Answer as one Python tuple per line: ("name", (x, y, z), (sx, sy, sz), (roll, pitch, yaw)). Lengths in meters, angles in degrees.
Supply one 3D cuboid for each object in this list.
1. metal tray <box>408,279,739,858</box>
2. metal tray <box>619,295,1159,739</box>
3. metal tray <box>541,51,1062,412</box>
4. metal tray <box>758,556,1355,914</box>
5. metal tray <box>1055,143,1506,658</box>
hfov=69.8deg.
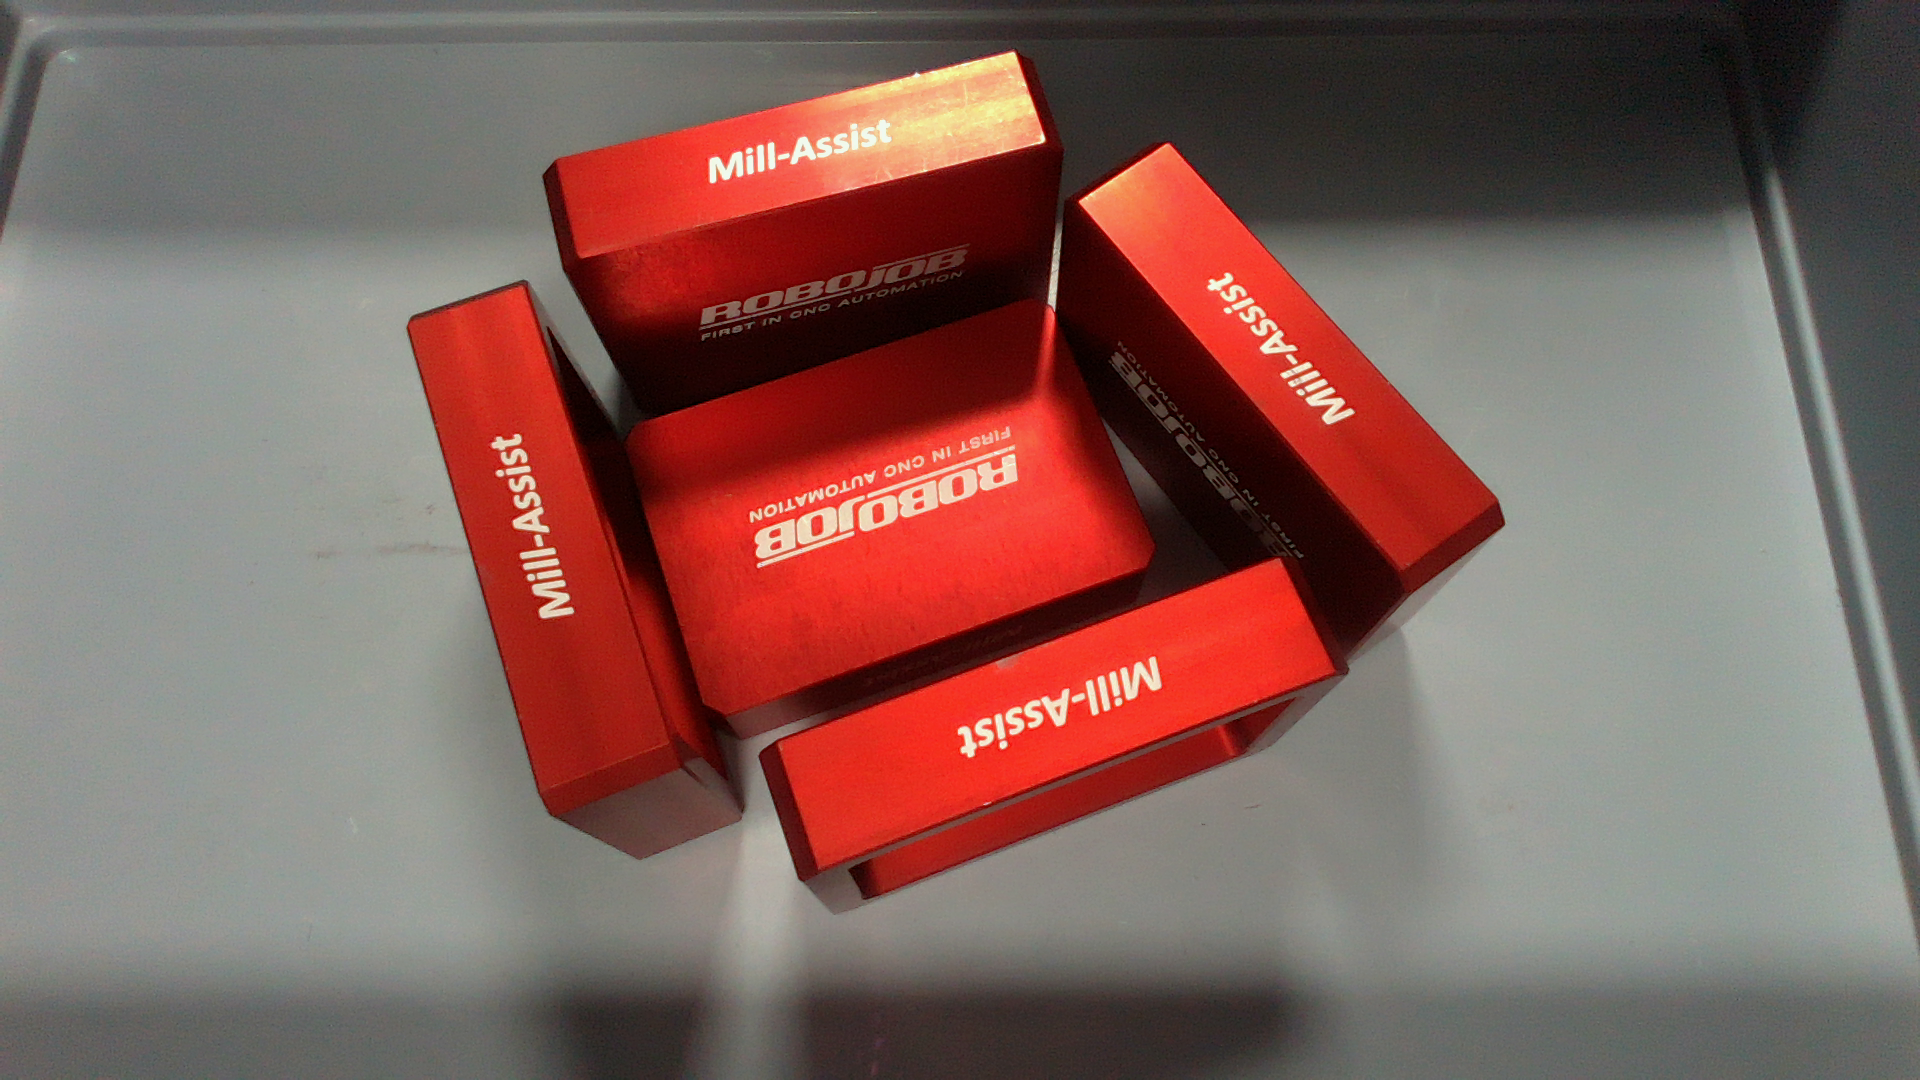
("metal tray", (-0.097, 0.011, 0.354), (0.030, 0.090, 0.130), (-20, 71, -7))
("metal tray", (-0.020, -0.008, 0.392), (0.130, 0.030, 0.090), (-19, 71, -7))
("metal tray", (-0.040, -0.083, 0.388), (0.130, 0.090, 0.030), (-15, 71, -5))
("metal tray", (0.022, 0.052, 0.339), (0.130, 0.090, 0.030), (-20, 71, -7))
("metal tray", (0.077, -0.031, 0.371), (0.030, 0.090, 0.130), (-35, 74, -11))
